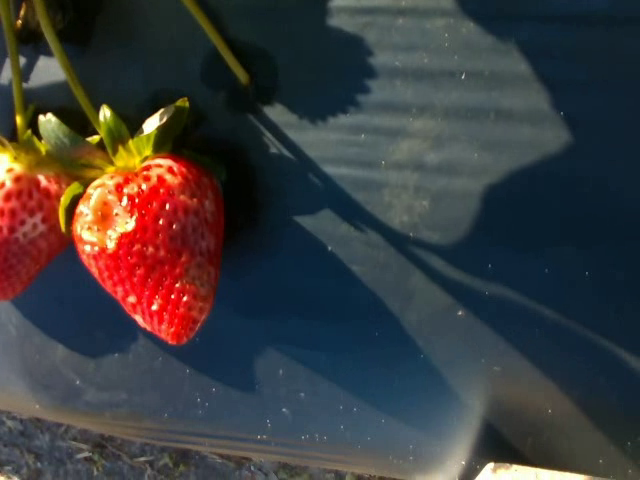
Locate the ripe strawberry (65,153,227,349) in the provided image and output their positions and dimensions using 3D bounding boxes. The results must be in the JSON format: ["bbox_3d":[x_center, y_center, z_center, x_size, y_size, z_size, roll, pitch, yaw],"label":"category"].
[{"bbox_3d":[-0.048,0.005,0.184,0.051,0.067,0.056,-10,-14,-44],"label":"ripe strawberry"}]

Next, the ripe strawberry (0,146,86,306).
[{"bbox_3d":[-0.100,-0.004,0.193,0.050,0.061,0.044,18,11,-16],"label":"ripe strawberry"}]
